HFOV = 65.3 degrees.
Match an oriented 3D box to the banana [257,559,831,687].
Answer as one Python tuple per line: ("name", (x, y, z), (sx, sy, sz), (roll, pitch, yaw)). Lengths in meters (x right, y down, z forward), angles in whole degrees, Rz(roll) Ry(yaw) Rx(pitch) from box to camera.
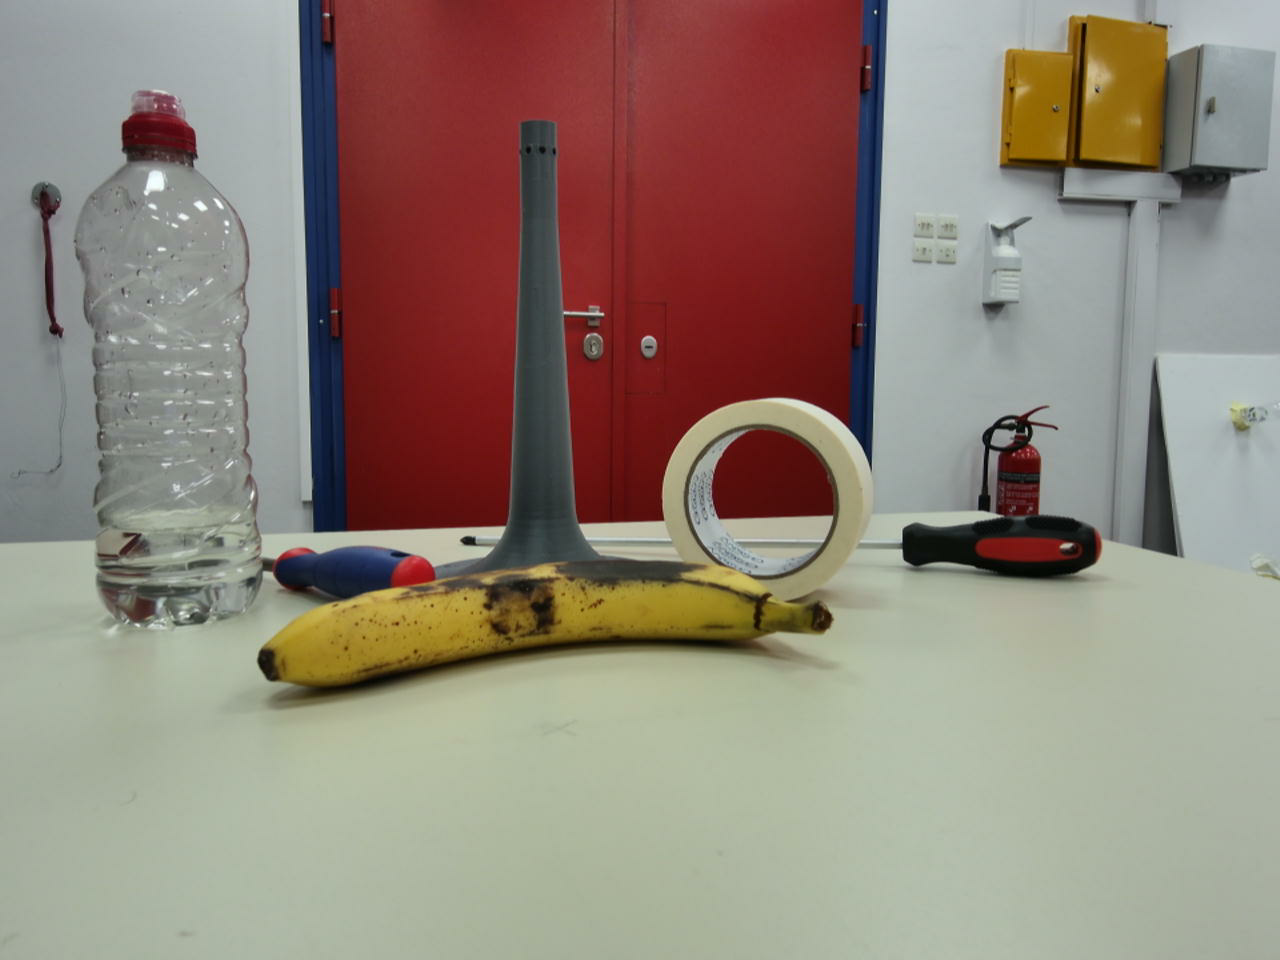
("banana", (-0.038, 0.057, 0.418), (0.222, 0.037, 0.084), (-1, 4, -13))
